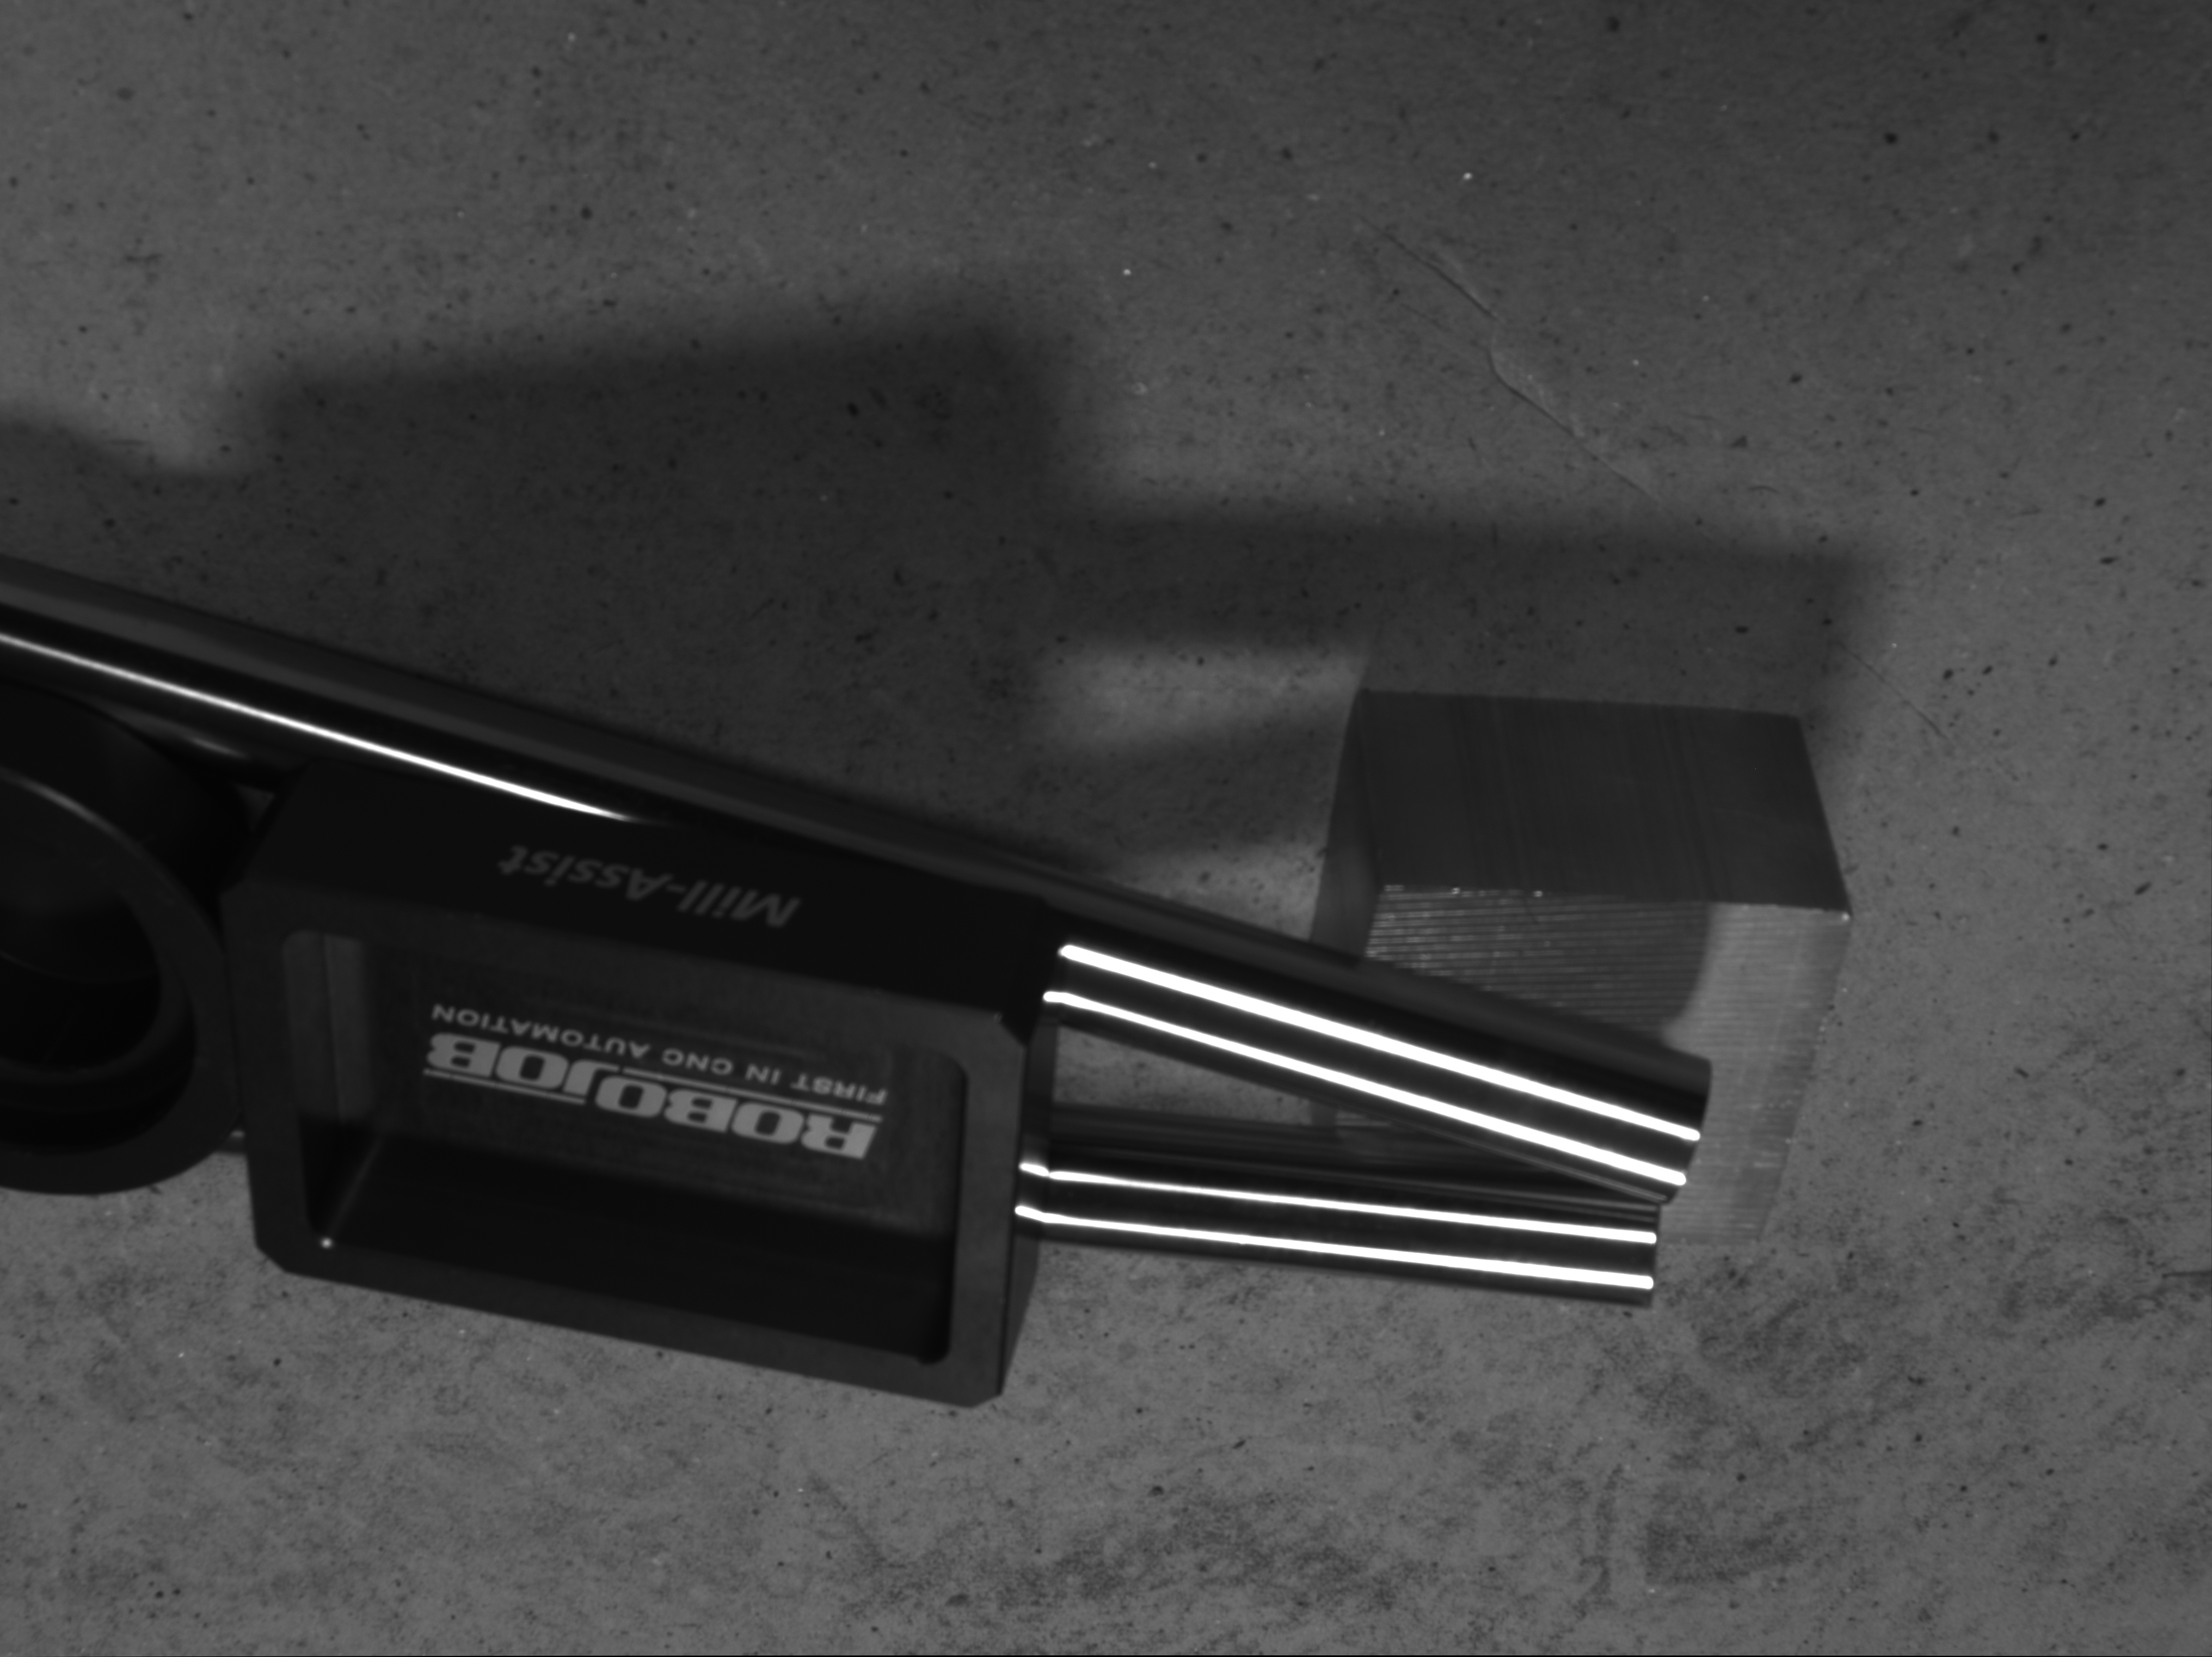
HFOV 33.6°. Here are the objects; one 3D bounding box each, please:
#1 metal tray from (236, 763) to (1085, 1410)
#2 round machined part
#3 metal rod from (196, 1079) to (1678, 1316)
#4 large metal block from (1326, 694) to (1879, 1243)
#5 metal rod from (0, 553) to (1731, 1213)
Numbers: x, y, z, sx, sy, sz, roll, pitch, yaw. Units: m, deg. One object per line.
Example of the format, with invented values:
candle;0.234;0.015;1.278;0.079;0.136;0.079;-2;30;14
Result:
metal tray;-0.072;0.043;0.602;0.130;0.030;0.090;10;130;6
round machined part;-0.181;0.012;0.625;0.098;0.042;0.098;6;130;7
metal rod;-0.051;0.057;0.642;0.300;0.025;0.025;5;131;11
large metal block;0.083;0.025;0.644;0.080;0.050;0.080;3;130;-4
metal rod;-0.045;0.008;0.602;0.300;0.025;0.025;17;129;1
